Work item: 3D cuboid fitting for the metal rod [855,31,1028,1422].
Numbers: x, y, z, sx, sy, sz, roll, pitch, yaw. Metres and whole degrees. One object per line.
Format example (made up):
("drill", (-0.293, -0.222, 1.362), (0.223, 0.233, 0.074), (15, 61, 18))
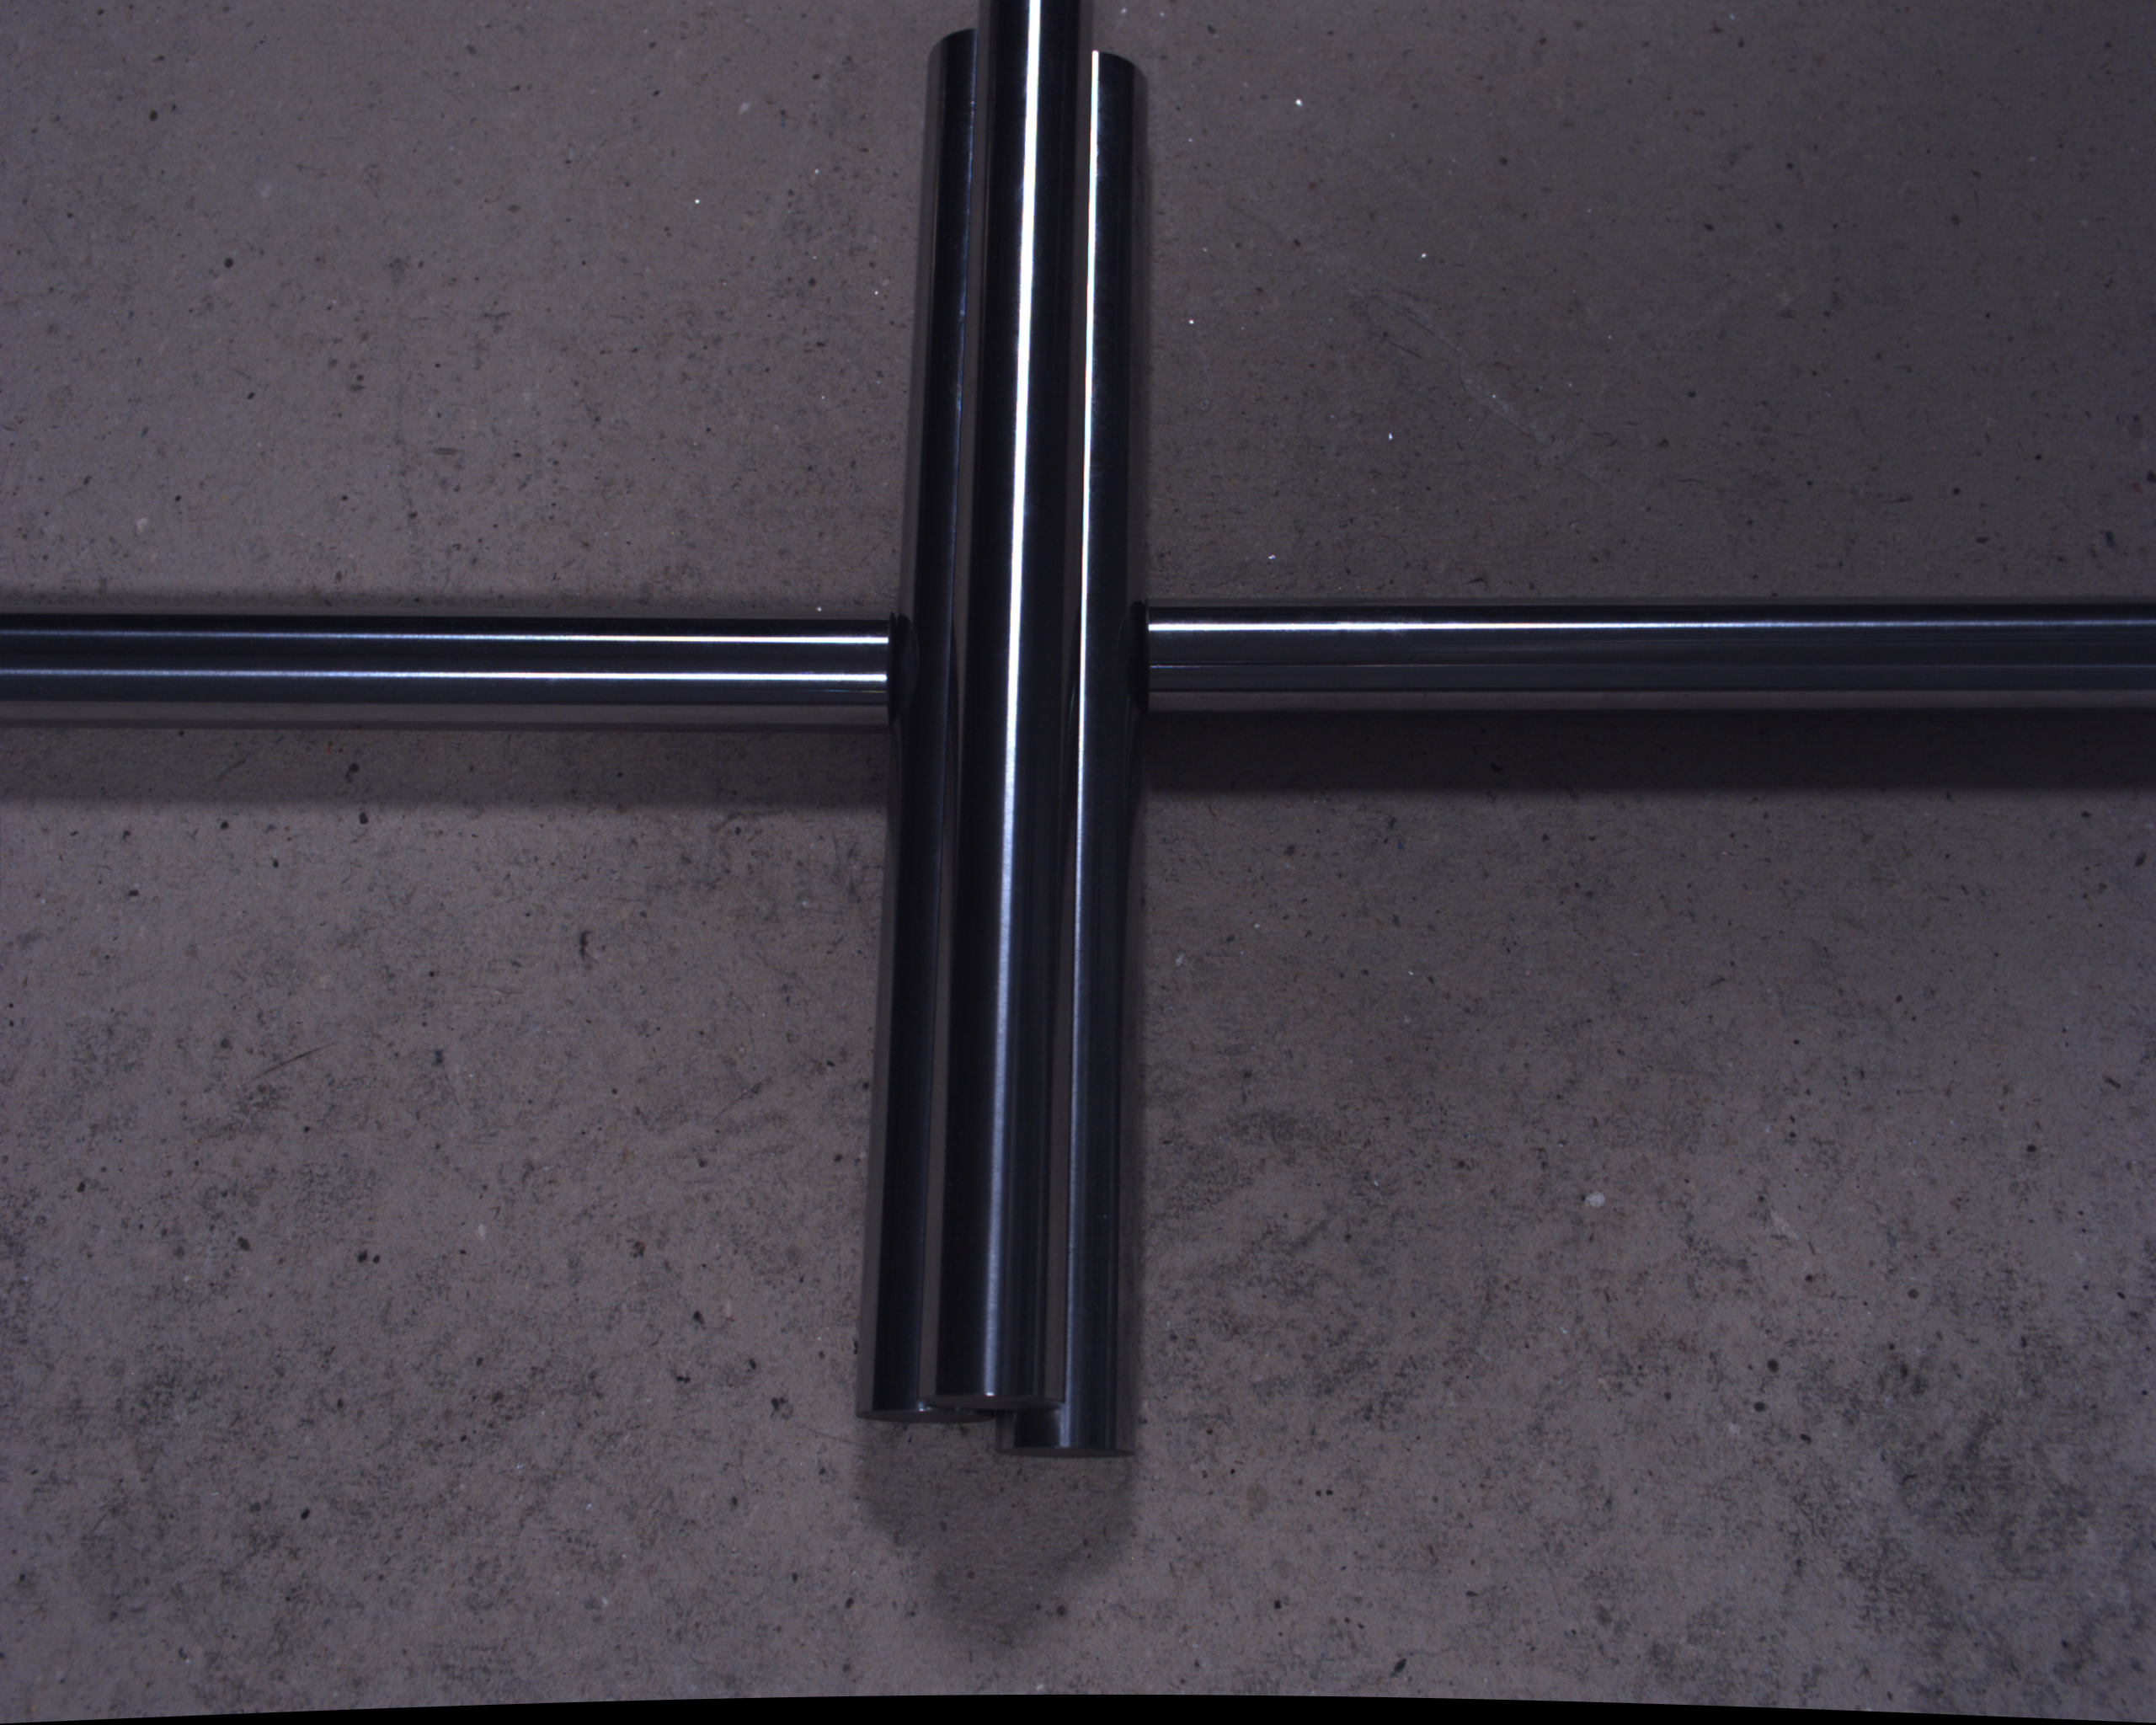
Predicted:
("metal rod", (-0.024, -0.041, 0.425), (0.025, 0.025, 0.299), (1, 70, 0))

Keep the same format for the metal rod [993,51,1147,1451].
("metal rod", (0.000, -0.036, 0.423), (0.025, 0.025, 0.299), (1, 70, 0))

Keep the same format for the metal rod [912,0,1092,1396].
("metal rod", (-0.013, -0.050, 0.406), (0.025, 0.025, 0.299), (1, 70, 0))

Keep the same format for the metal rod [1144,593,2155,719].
("metal rod", (0.164, -0.042, 0.427), (0.302, 0.025, 0.025), (0, 70, -1))

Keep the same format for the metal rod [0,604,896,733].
("metal rod", (-0.188, -0.040, 0.421), (0.302, 0.025, 0.025), (0, 70, -1))
